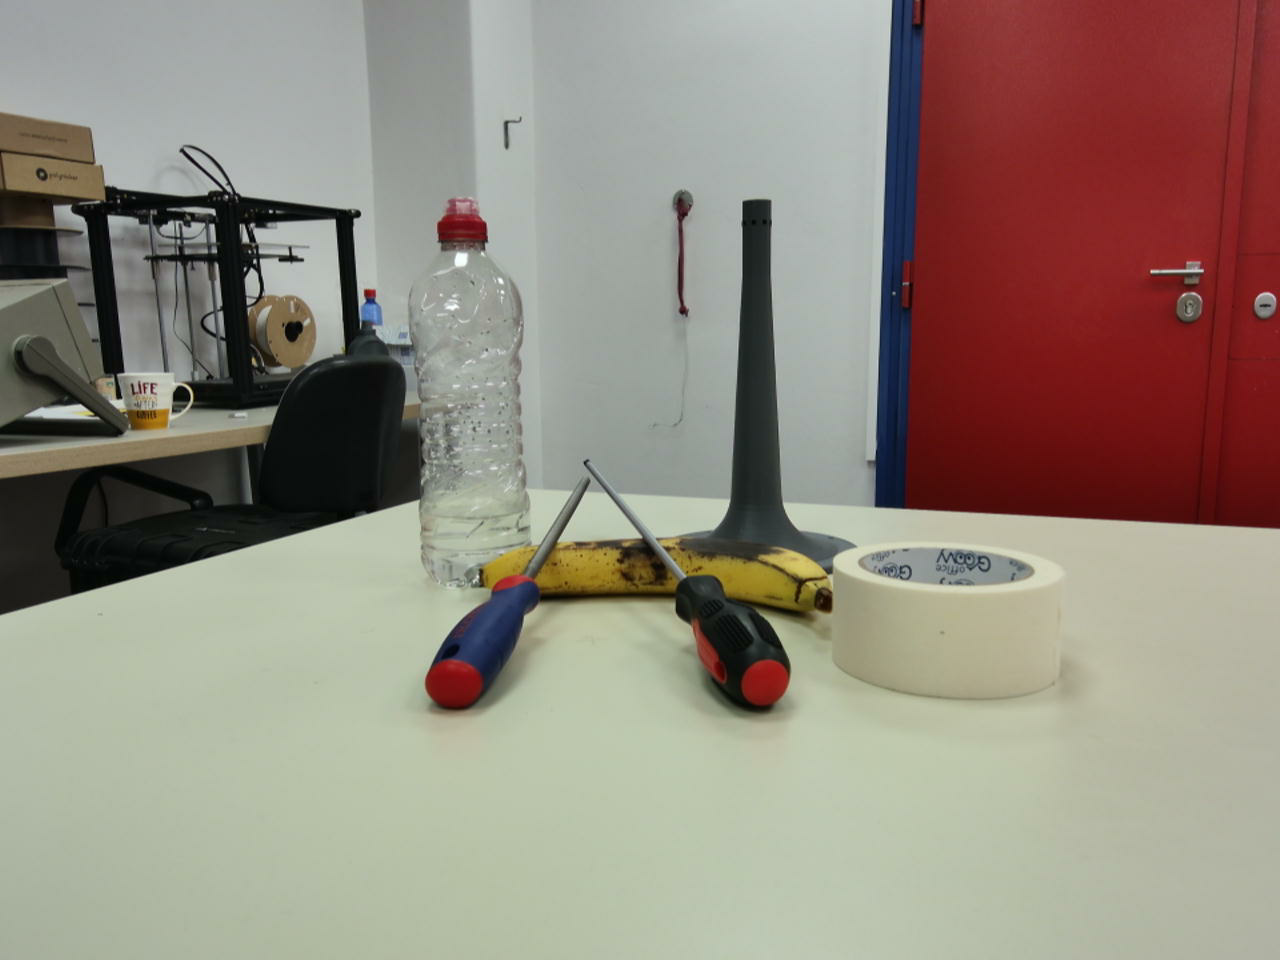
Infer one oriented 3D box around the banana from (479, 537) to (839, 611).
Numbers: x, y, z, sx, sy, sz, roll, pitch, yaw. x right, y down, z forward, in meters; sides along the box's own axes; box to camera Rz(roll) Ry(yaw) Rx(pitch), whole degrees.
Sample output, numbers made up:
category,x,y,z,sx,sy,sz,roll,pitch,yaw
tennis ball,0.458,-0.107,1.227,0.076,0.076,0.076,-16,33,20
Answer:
category,x,y,z,sx,sy,sz,roll,pitch,yaw
banana,0.017,0.056,0.601,0.222,0.037,0.084,3,7,23
